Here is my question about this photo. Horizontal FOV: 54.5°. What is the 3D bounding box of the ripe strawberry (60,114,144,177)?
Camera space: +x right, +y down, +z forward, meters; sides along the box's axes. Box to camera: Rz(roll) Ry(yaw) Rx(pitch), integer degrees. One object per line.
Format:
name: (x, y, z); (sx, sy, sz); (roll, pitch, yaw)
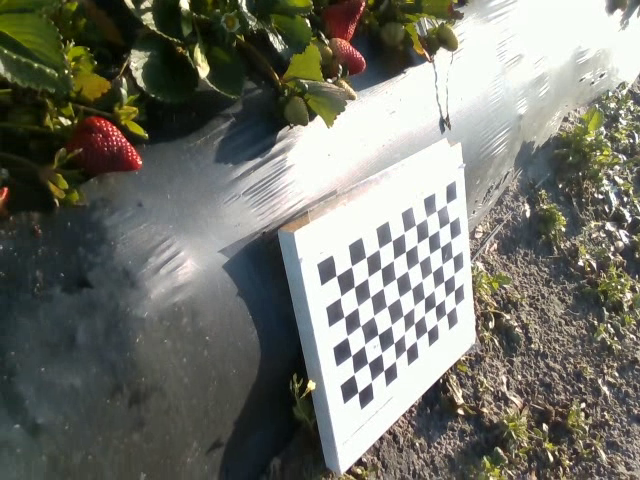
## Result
ripe strawberry: (-0.152, -0.065, 0.447); (0.051, 0.052, 0.041); (24, -24, 13)
